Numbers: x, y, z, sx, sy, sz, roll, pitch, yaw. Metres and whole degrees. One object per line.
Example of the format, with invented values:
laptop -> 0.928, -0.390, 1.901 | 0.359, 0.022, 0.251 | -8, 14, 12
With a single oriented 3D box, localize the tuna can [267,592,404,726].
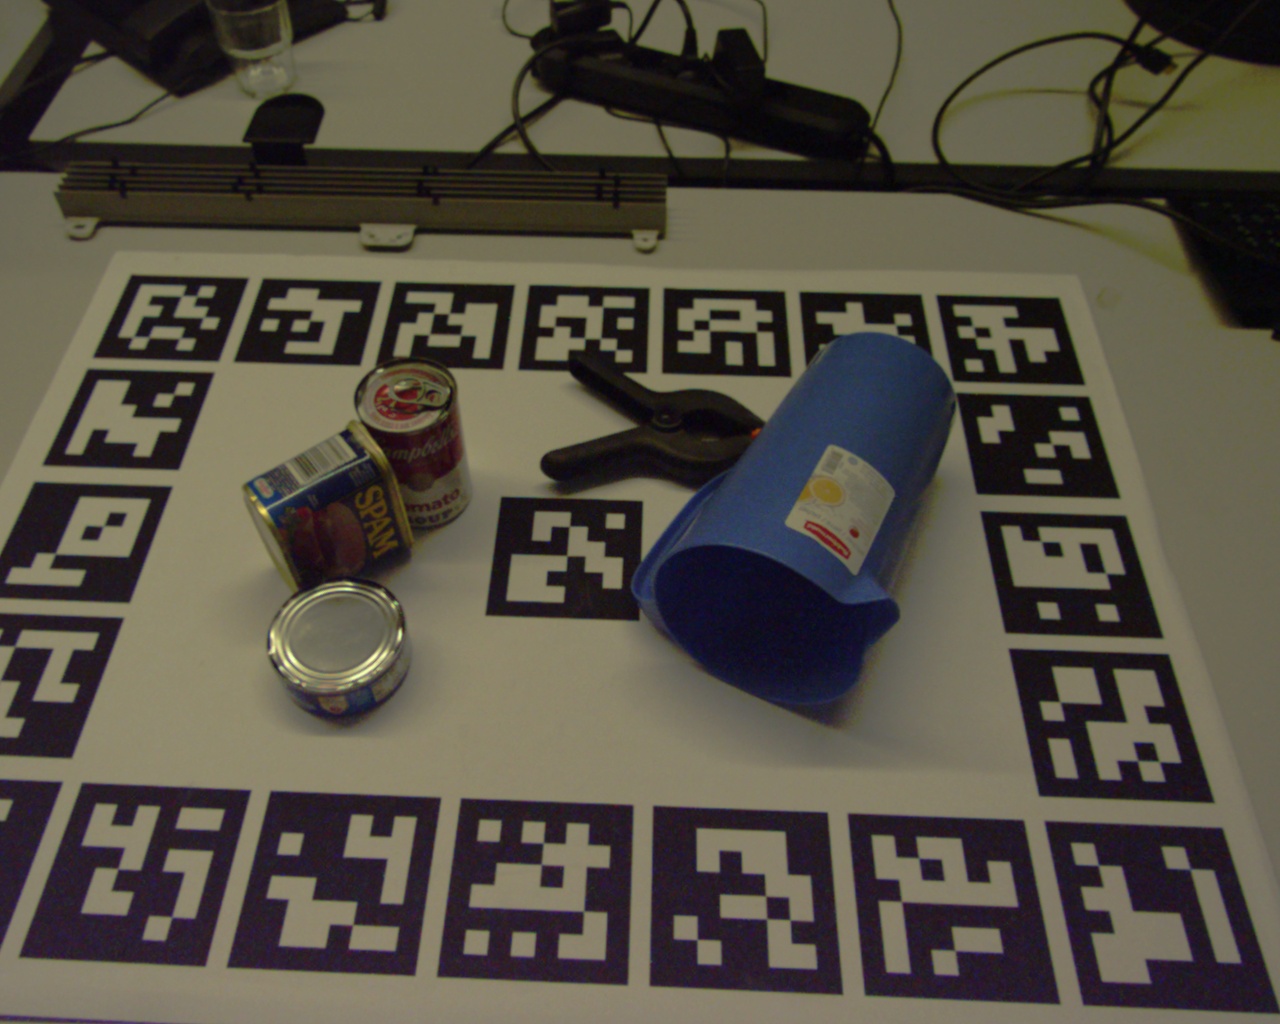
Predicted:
tuna can -> -0.201, 0.098, 0.759 | 0.086, 0.033, 0.086 | -1, 54, 0

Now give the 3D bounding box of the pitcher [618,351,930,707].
pitcher -> 0.100, 0.000, 0.766 | 0.191, 0.132, 0.241 | 4, 42, 31

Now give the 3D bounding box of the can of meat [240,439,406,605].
can of meat -> -0.217, 0.011, 0.780 | 0.083, 0.101, 0.058 | -30, 59, -17

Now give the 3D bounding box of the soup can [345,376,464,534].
soup can -> -0.167, -0.039, 0.824 | 0.068, 0.101, 0.068 | -2, 54, 2

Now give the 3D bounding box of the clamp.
clamp -> -0.009, -0.055, 0.887 | 0.165, 0.036, 0.122 | 5, 48, 0
